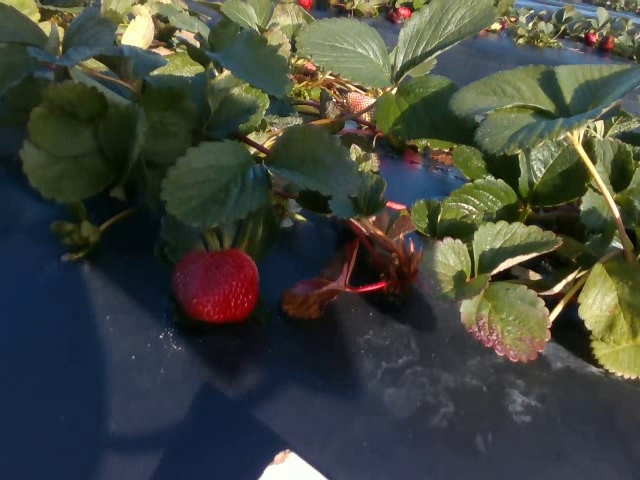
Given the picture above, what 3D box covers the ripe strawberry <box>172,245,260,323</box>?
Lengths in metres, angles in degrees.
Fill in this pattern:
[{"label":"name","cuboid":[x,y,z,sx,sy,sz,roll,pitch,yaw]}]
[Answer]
[{"label":"ripe strawberry","cuboid":[-0.046,0.019,0.249,0.040,0.041,0.056,-21,11,6]}]
